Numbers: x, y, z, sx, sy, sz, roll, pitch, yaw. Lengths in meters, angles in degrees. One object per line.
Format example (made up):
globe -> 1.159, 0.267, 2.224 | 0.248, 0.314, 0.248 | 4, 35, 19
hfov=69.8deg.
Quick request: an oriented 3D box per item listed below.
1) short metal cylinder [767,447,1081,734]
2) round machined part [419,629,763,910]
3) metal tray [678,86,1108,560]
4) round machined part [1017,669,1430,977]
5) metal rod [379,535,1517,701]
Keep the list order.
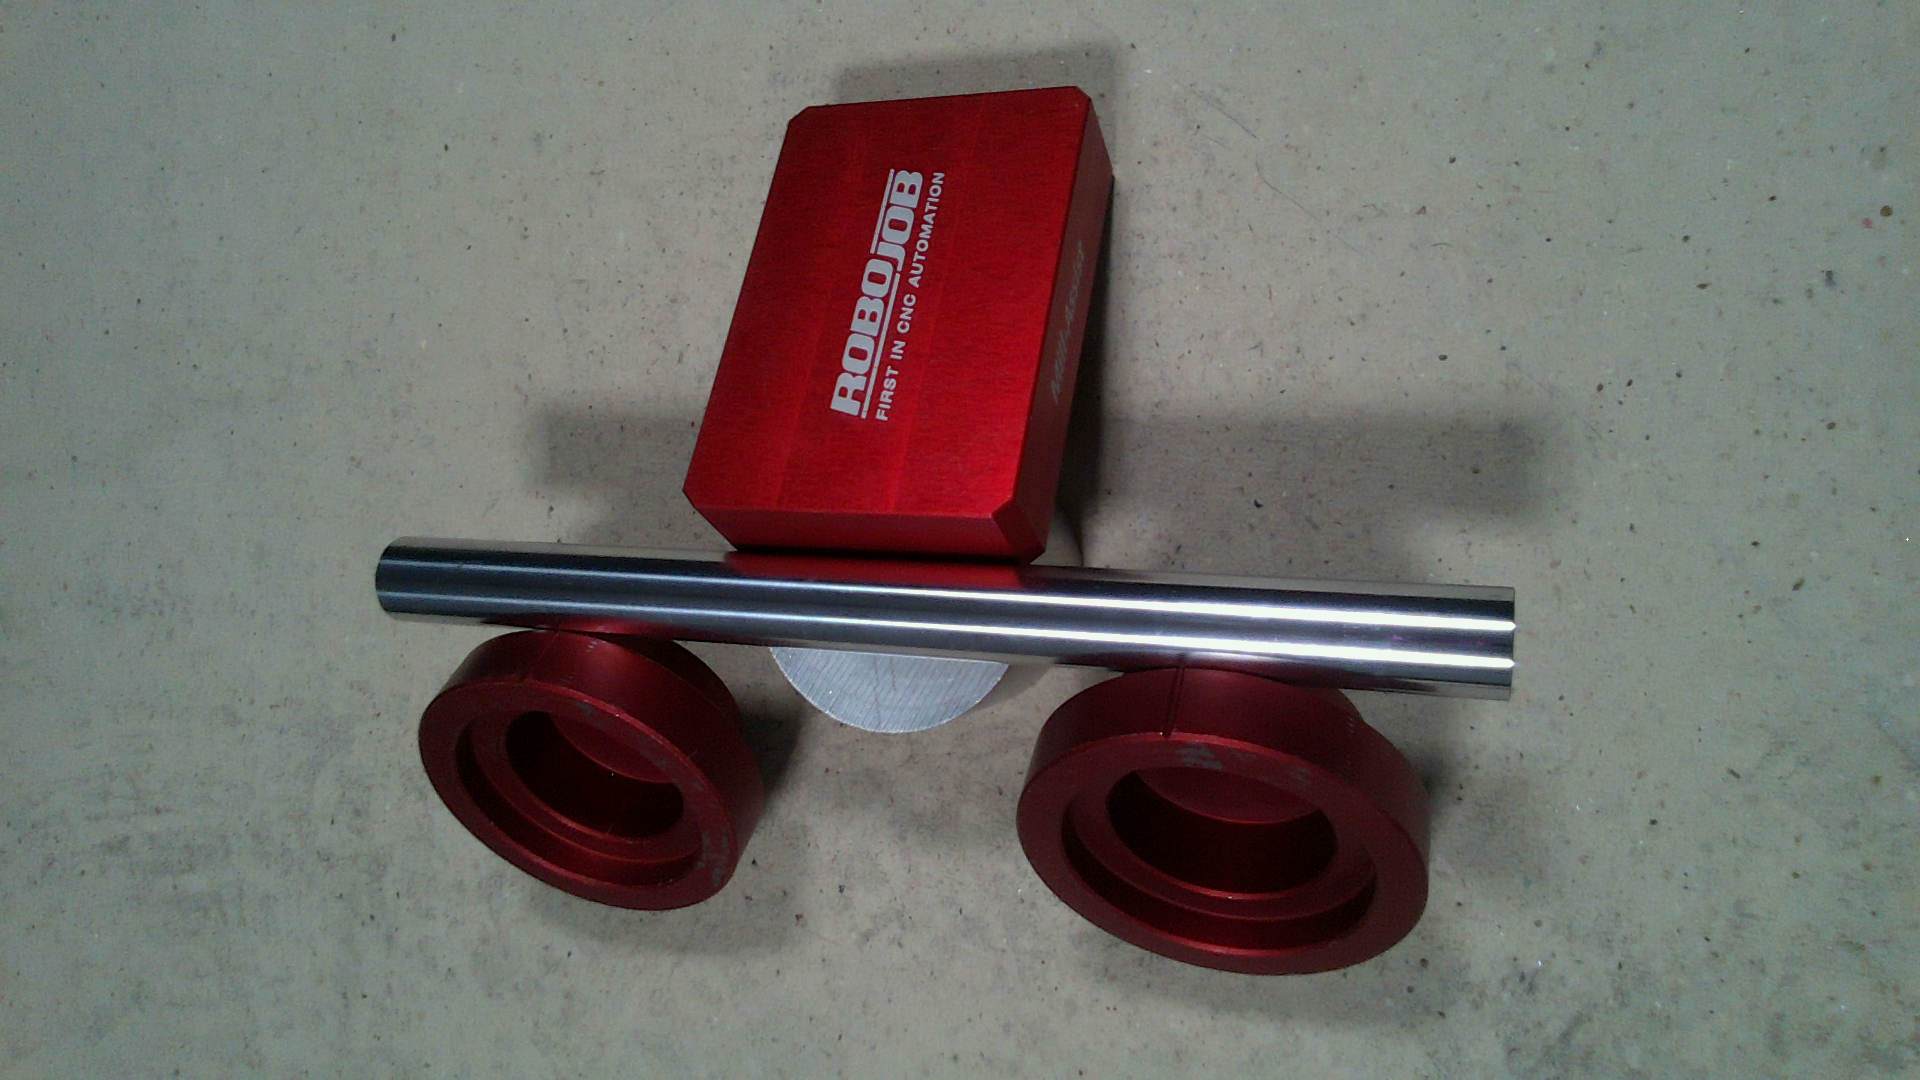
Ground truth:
short metal cylinder -> -0.011, 0.011, 0.387 | 0.080, 0.050, 0.080 | 0, 90, 20
round machined part -> -0.104, 0.062, 0.408 | 0.098, 0.042, 0.098 | 10, 131, 11
metal tray -> -0.014, -0.059, 0.370 | 0.090, 0.030, 0.130 | 2, 65, 20
round machined part -> 0.067, 0.065, 0.344 | 0.098, 0.042, 0.098 | 11, 136, 11
metal rod -> -0.020, 0.017, 0.351 | 0.299, 0.025, 0.025 | 2, 91, 20
